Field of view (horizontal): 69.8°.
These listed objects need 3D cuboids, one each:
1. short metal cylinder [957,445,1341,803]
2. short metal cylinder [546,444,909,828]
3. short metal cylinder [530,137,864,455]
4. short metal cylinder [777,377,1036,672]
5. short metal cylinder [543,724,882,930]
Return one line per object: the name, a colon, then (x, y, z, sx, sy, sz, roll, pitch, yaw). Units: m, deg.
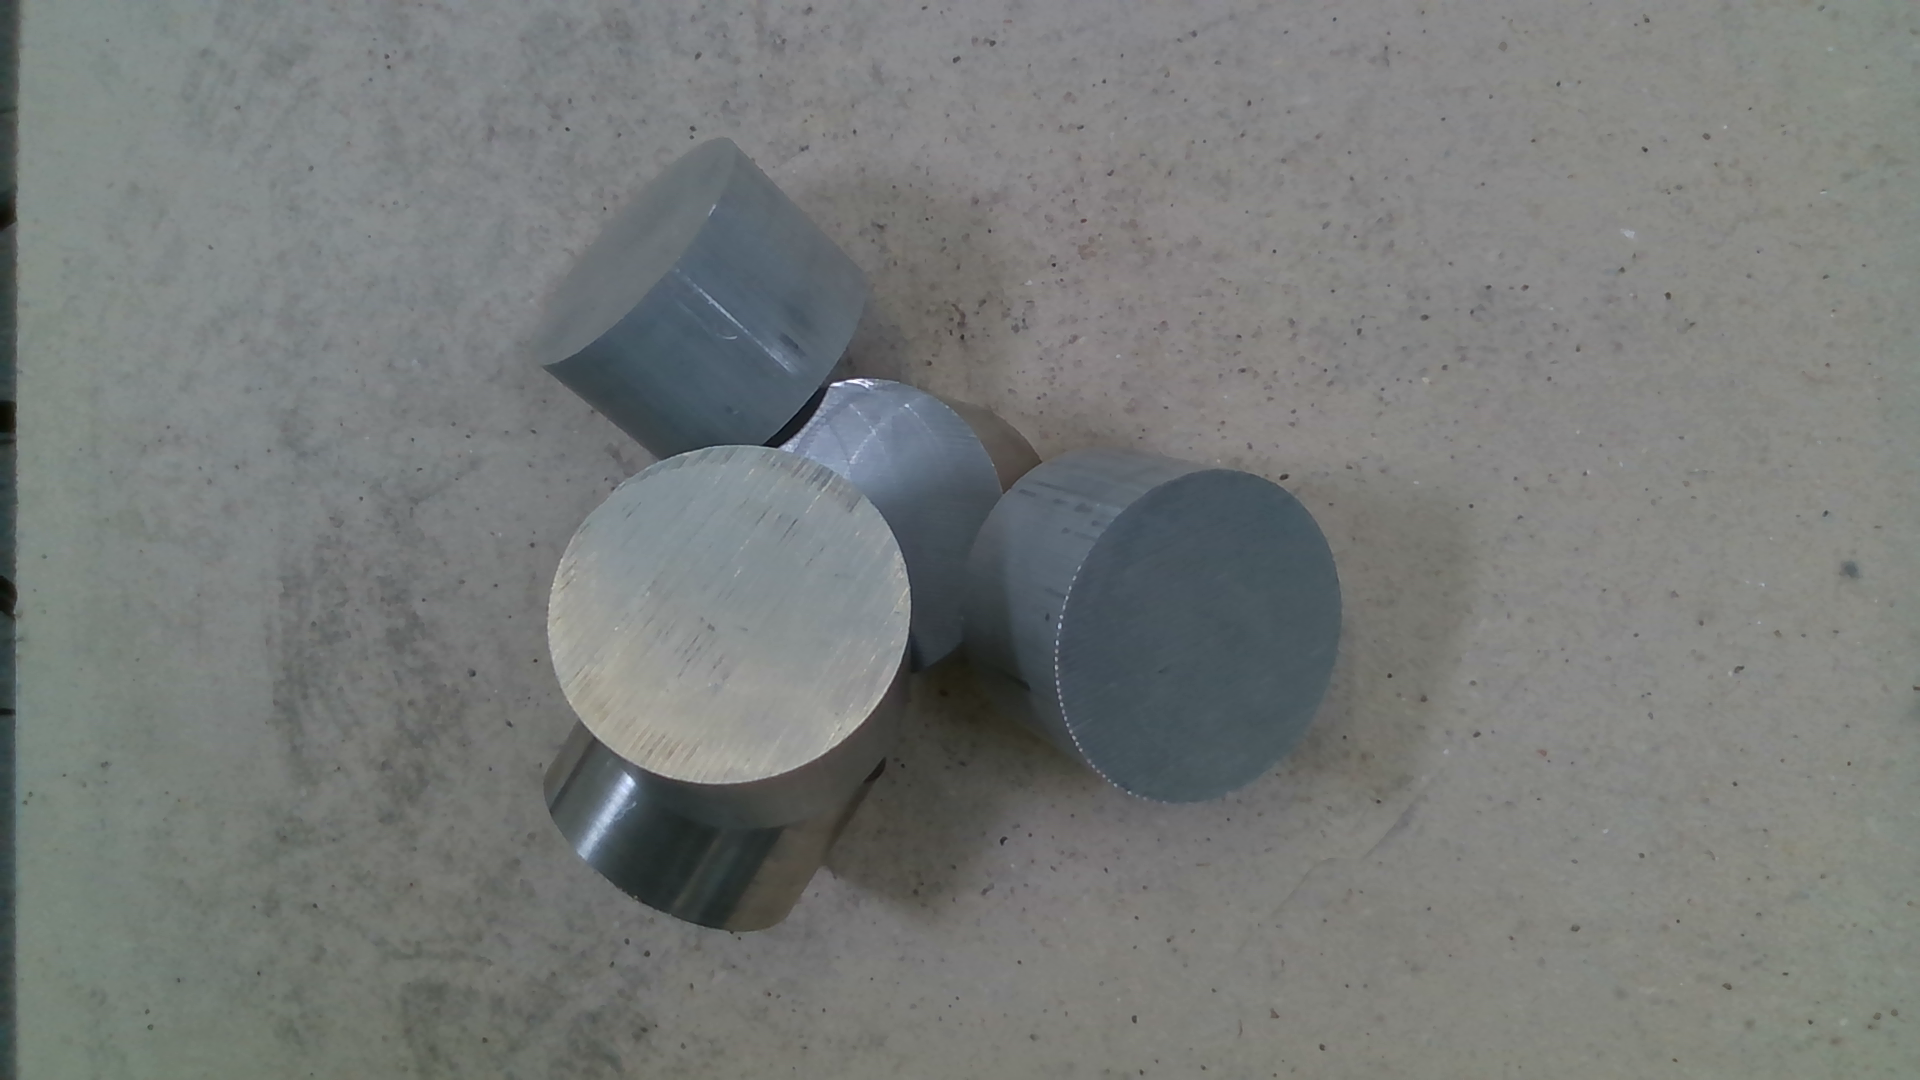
short metal cylinder: (0.046, 0.019, 0.342, 0.050, 0.080, 0.080, 22, 101, 63)
short metal cylinder: (-0.052, 0.024, 0.329, 0.080, 0.050, 0.080, 1, 68, -1)
short metal cylinder: (-0.074, -0.065, 0.385, 0.080, 0.050, 0.080, -31, 36, 26)
short metal cylinder: (-0.017, -0.003, 0.387, 0.080, 0.050, 0.080, 0, 91, 20)
short metal cylinder: (-0.069, 0.063, 0.391, 0.080, 0.080, 0.050, 36, 102, 16)
